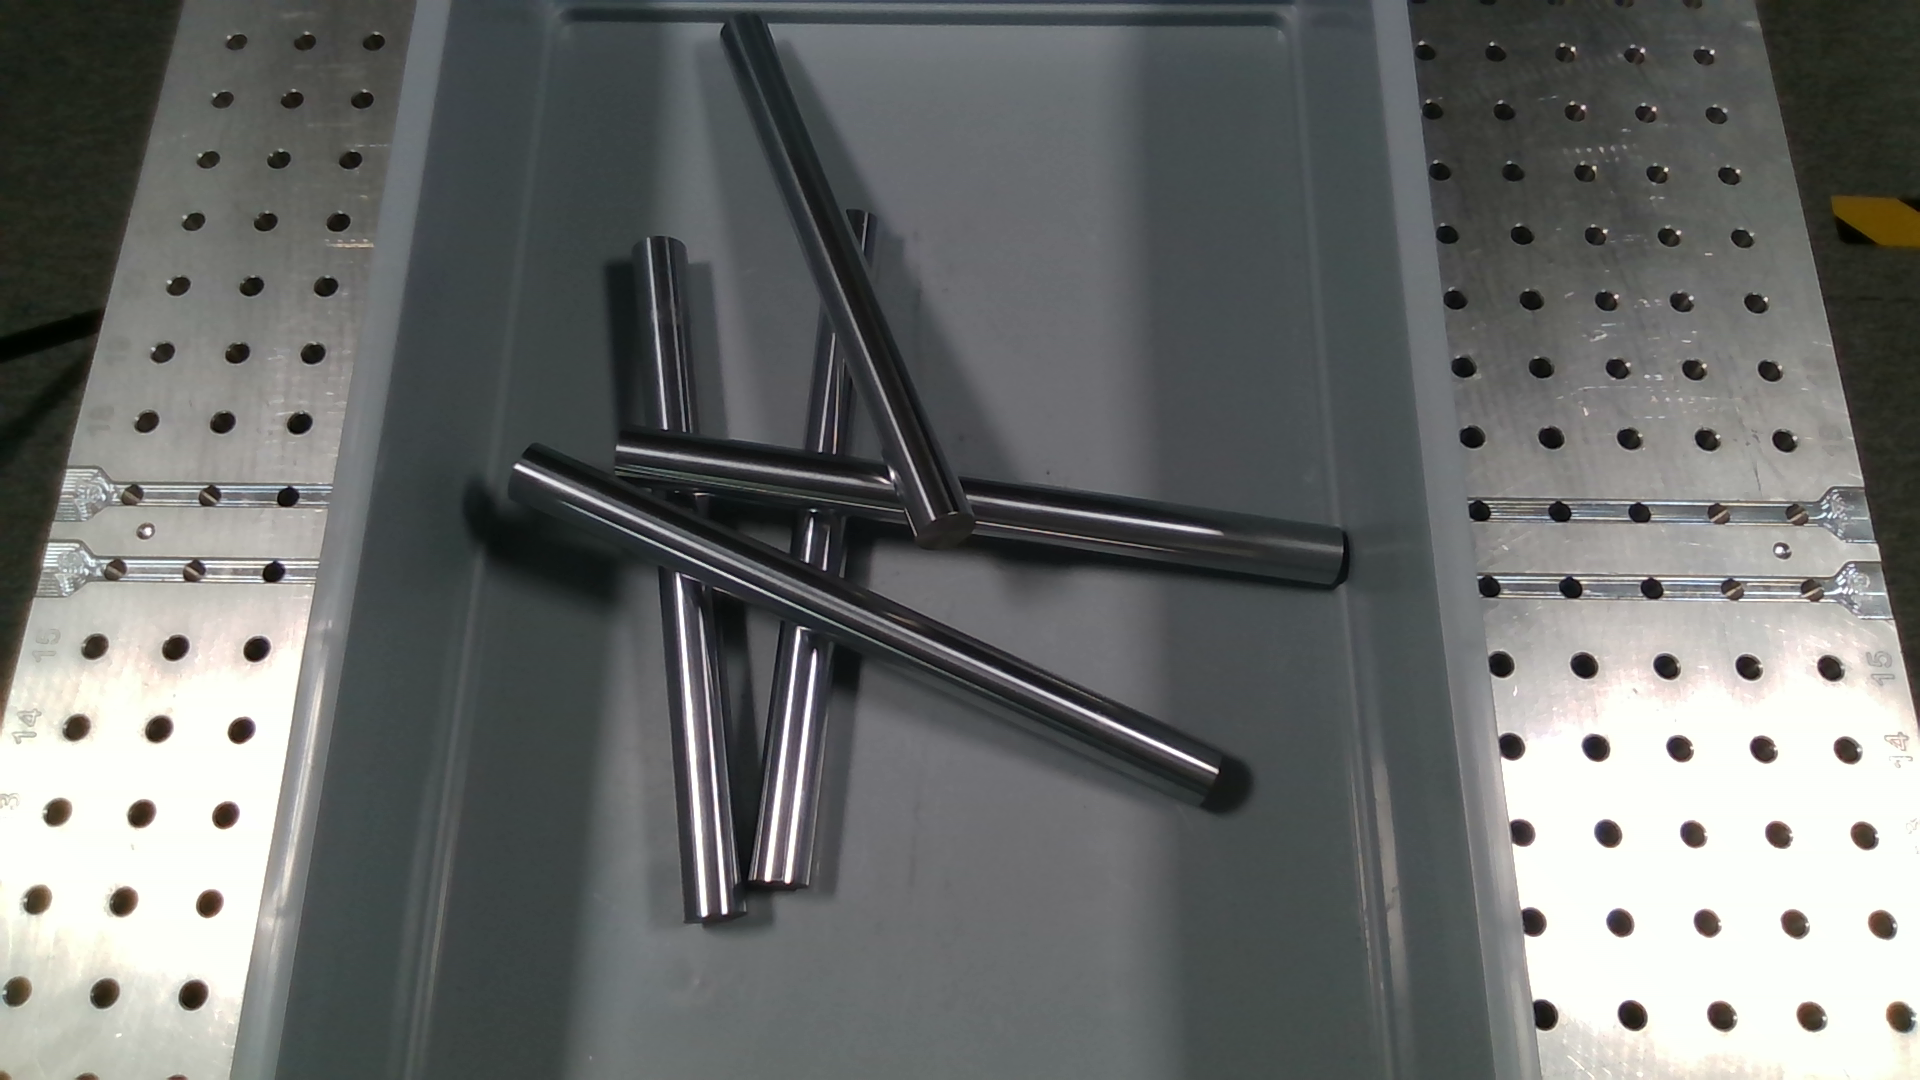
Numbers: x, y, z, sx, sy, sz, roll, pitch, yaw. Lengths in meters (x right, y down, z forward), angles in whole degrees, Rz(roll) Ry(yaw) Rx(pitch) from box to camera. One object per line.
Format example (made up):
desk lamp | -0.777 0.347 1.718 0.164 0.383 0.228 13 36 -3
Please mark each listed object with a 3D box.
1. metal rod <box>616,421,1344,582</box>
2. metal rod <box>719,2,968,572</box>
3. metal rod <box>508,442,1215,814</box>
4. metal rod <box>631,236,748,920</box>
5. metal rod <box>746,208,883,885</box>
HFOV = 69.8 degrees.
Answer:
metal rod | 0.010 -0.015 0.574 0.300 0.025 0.025 8 70 -4
metal rod | -0.056 -0.122 0.604 0.025 0.025 0.299 -18 66 -6
metal rod | -0.039 0.035 0.553 0.300 0.025 0.025 25 72 0
metal rod | -0.117 0.006 0.585 0.025 0.025 0.299 -8 71 -3
metal rod | -0.060 -0.007 0.589 0.025 0.025 0.299 4 70 2
